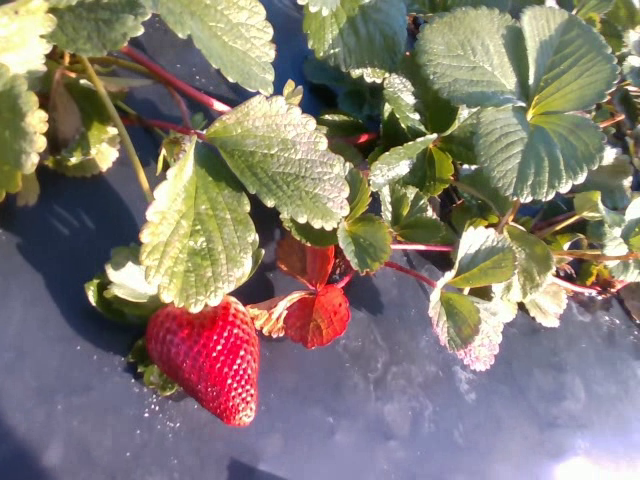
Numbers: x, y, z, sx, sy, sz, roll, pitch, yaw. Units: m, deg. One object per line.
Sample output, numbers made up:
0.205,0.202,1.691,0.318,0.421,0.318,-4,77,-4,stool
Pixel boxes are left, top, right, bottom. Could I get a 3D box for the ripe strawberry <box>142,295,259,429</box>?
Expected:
-0.037,0.042,0.197,0.041,0.056,0.041,-25,-33,-13,ripe strawberry
